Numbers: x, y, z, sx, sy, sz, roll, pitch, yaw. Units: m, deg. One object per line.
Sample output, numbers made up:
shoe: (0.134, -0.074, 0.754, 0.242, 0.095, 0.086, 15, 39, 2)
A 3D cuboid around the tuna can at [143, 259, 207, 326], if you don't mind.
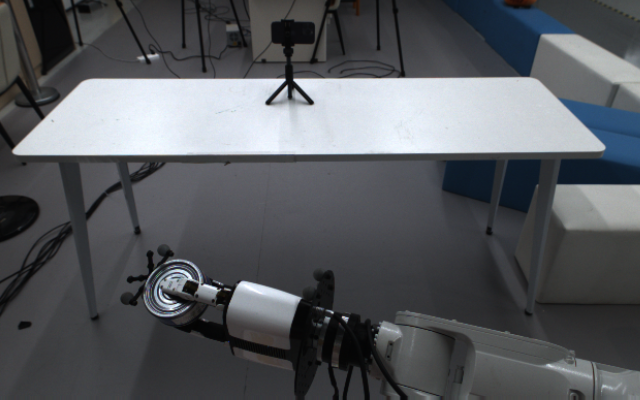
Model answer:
tuna can: (-0.189, 0.123, 0.650, 0.085, 0.034, 0.085, -3, 59, 6)
